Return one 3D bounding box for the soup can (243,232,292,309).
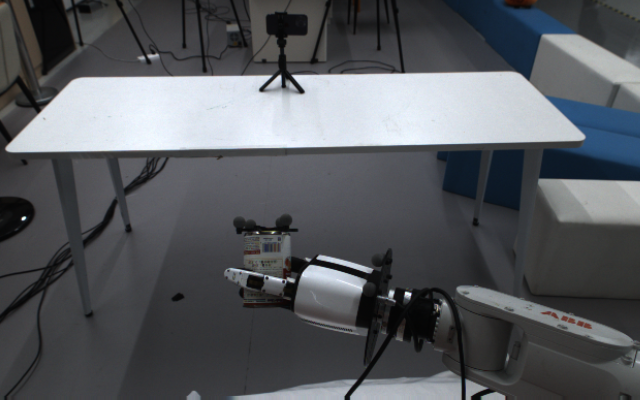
[{"bbox_3d":[-0.073,0.098,0.673,0.067,0.101,0.067,-1,-10,0],"label":"soup can"}]
